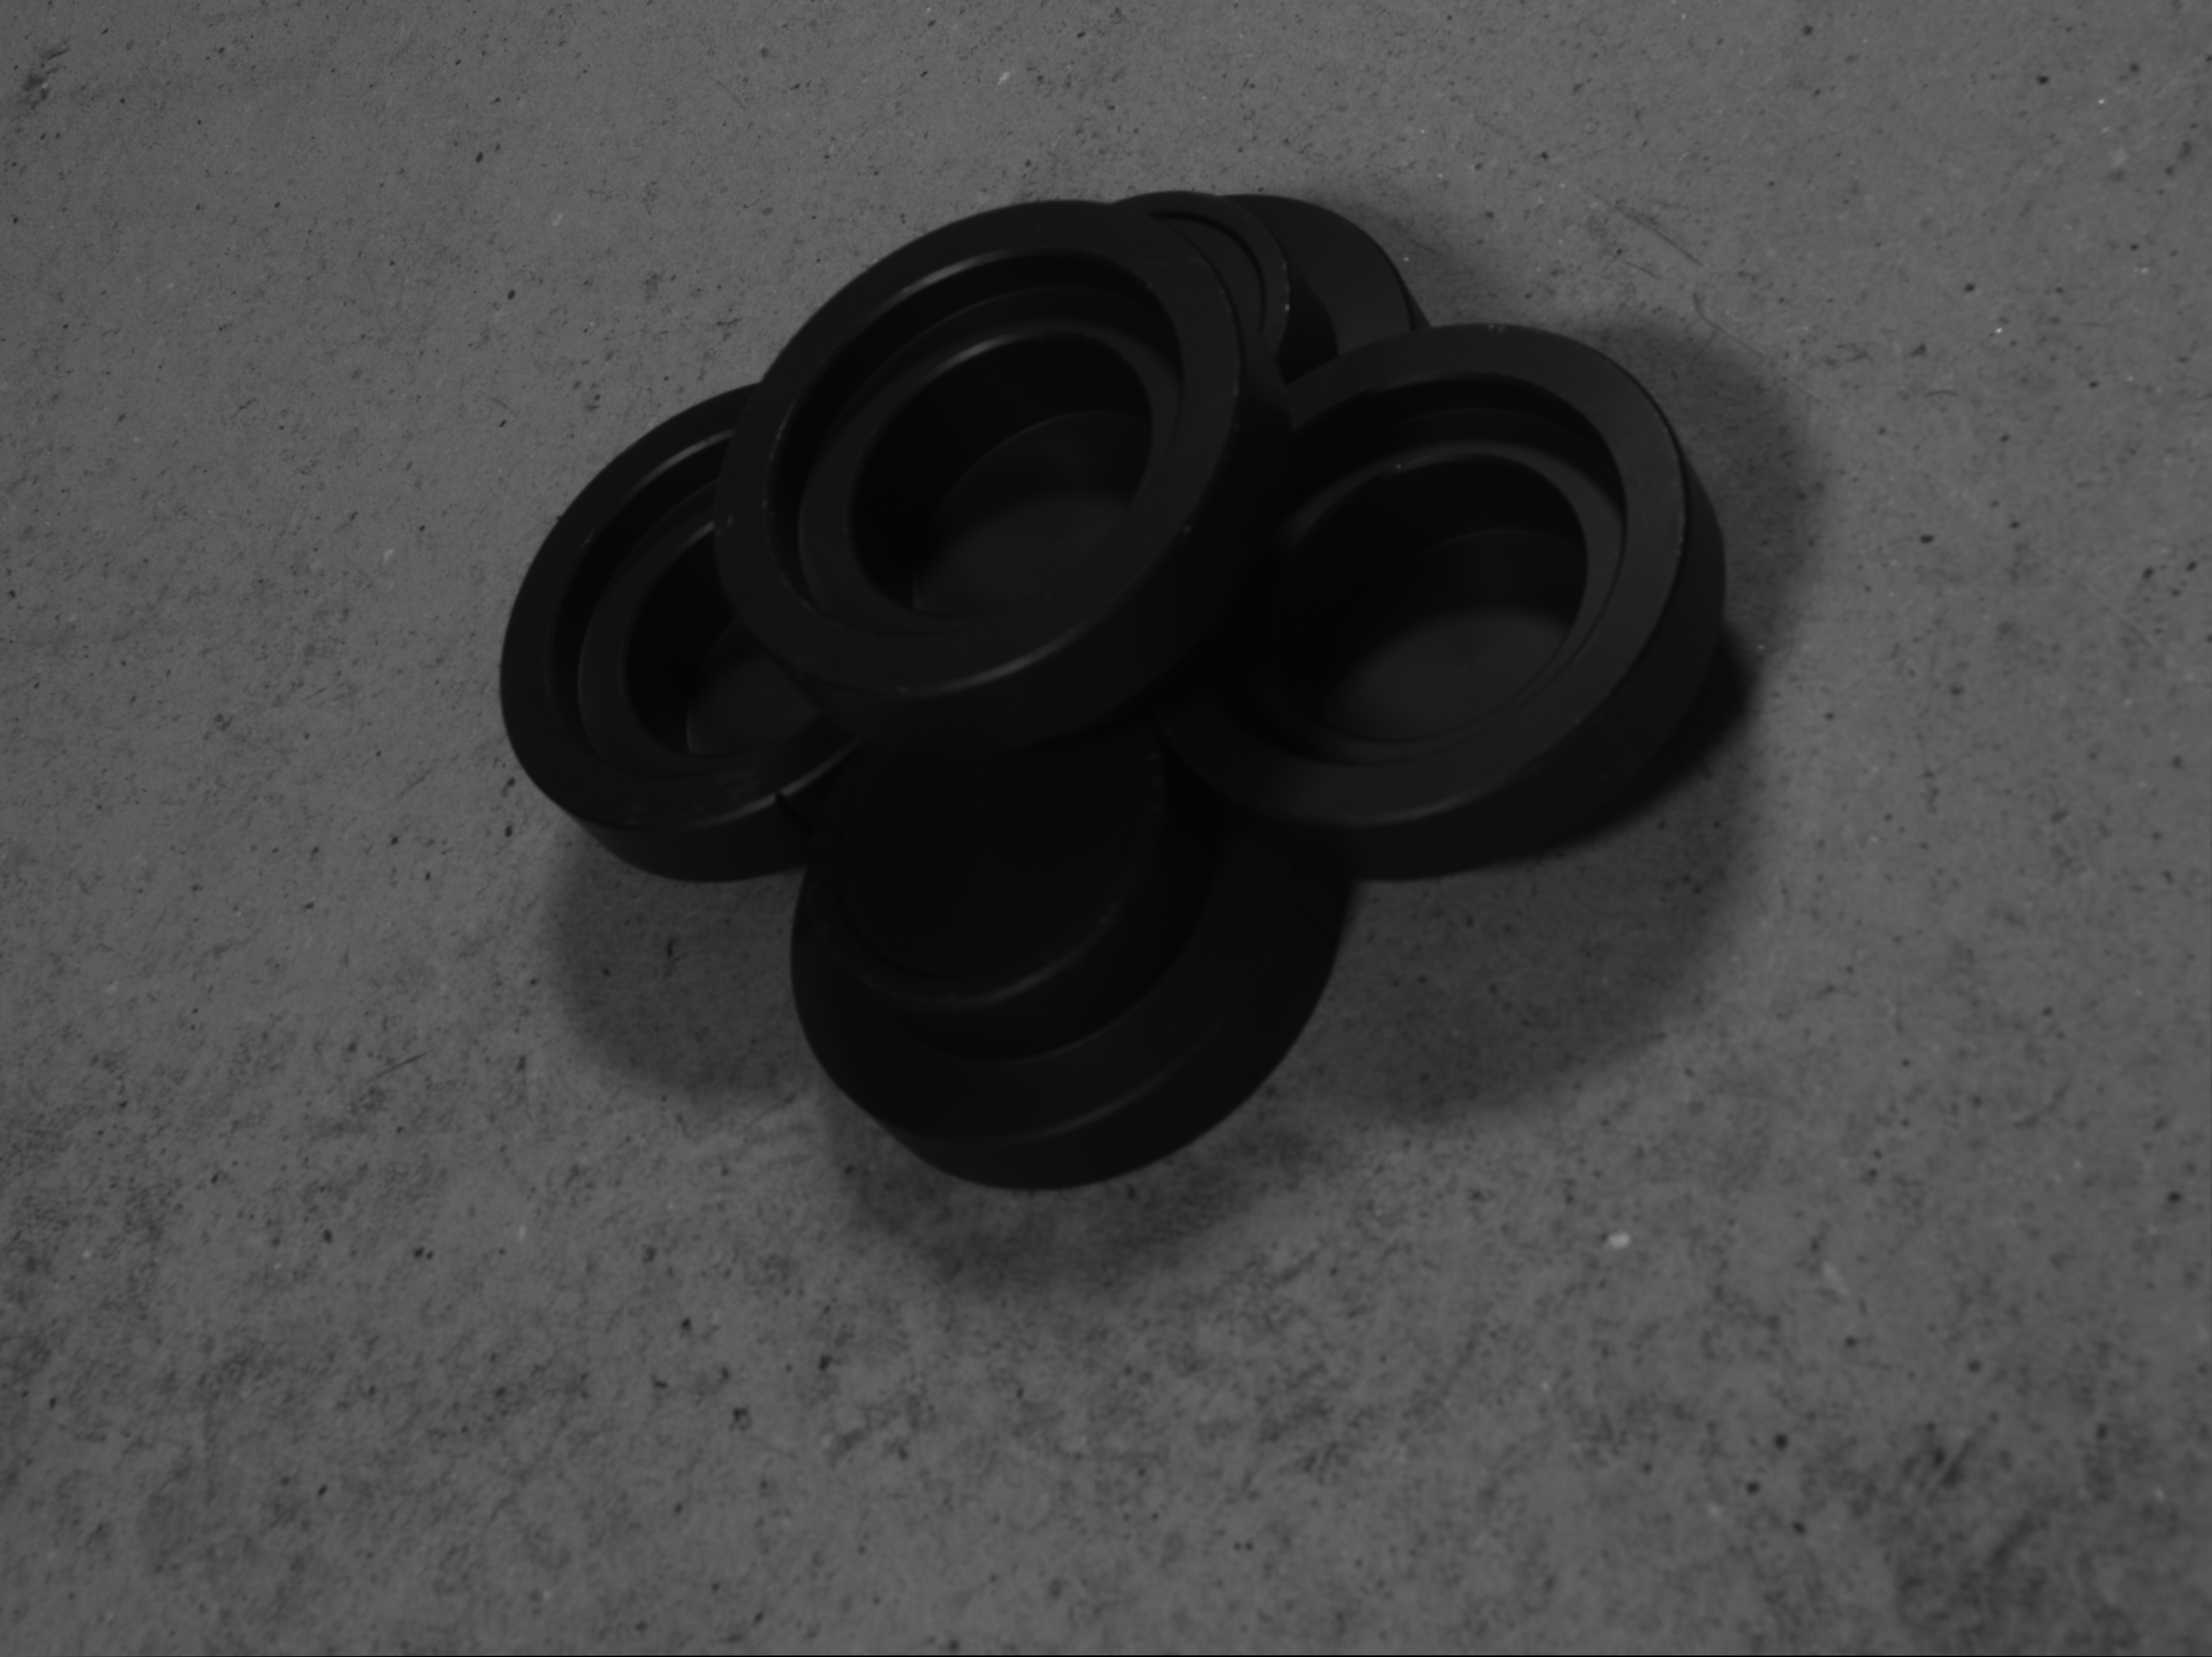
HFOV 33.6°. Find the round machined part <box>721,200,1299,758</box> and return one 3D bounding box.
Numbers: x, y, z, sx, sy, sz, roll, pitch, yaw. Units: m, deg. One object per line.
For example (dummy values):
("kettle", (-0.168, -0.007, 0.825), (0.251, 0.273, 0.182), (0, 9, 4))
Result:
("round machined part", (-0.012, -0.054, 0.619), (0.098, 0.042, 0.098), (-13, 56, 21))

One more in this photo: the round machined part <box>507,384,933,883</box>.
("round machined part", (-0.060, -0.033, 0.686), (0.098, 0.042, 0.098), (-13, 56, 21))

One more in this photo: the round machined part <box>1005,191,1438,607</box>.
("round machined part", (0.013, -0.078, 0.675), (0.098, 0.042, 0.098), (-13, 56, 21))

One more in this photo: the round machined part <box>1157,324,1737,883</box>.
("round machined part", (0.060, -0.034, 0.622), (0.098, 0.042, 0.098), (-13, 56, 21))

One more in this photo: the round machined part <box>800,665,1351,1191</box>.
("round machined part", (-0.010, 0.010, 0.633), (0.098, 0.042, 0.098), (-13, 56, 21))
